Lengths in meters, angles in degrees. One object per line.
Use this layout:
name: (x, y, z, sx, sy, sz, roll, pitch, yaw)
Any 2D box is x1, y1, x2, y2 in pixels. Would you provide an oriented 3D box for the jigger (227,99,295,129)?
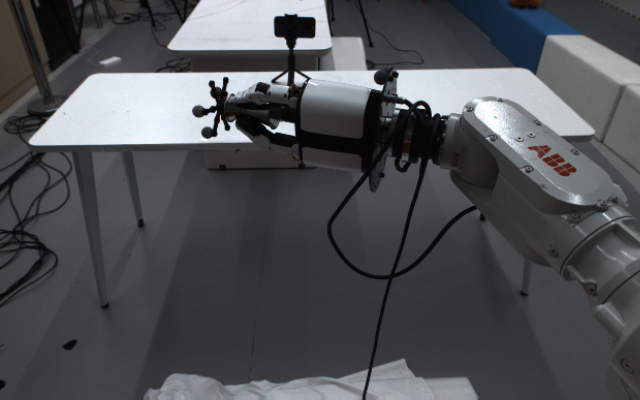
jigger: (-0.088, -0.128, 0.671, 0.071, 0.043, 0.043, 10, 35, 16)
